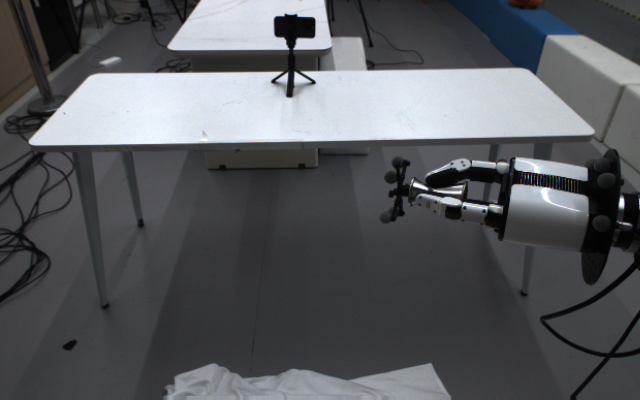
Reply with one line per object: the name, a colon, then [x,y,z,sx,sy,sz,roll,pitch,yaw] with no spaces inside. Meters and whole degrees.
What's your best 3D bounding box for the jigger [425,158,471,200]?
jigger: [0.158,-0.010,0.625,0.071,0.043,0.043,8,34,23]
